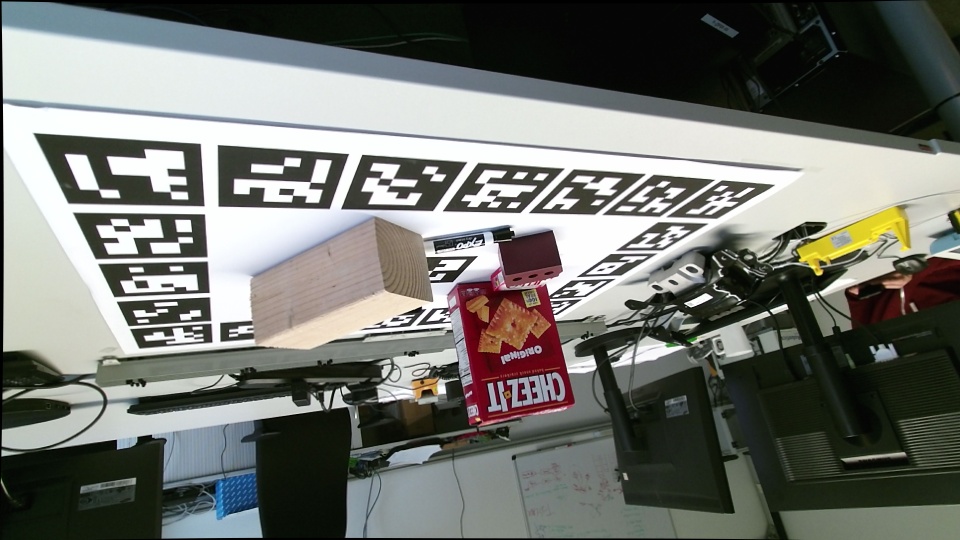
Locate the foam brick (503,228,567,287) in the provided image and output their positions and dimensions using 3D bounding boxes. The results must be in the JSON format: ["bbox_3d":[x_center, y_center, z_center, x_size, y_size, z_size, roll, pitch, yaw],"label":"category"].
[{"bbox_3d":[0.074,-0.016,0.734,0.078,0.051,0.053,-13,156,-4],"label":"foam brick"}]

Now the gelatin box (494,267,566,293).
[{"bbox_3d":[0.076,0.006,0.823,0.090,0.030,0.073,-3,153,-25],"label":"gelatin box"}]

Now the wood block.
[{"bbox_3d":[-0.162,0.024,0.644,0.207,0.090,0.090,-22,159,25],"label":"wood block"}]

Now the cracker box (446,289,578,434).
[{"bbox_3d":[0.048,0.139,0.861,0.165,0.212,0.072,-3,156,-22],"label":"cracker box"}]

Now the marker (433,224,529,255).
[{"bbox_3d":[0.002,-0.039,0.675,0.121,0.019,0.020,-11,156,-8],"label":"marker"}]

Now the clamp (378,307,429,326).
[{"bbox_3d":[-0.190,0.068,0.792,0.203,0.036,0.166,-16,157,2],"label":"clamp"}]
